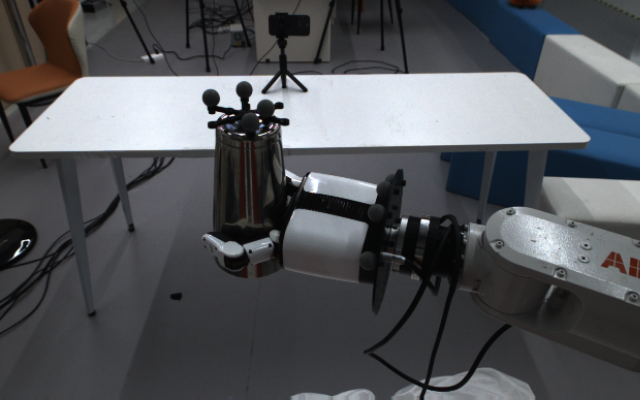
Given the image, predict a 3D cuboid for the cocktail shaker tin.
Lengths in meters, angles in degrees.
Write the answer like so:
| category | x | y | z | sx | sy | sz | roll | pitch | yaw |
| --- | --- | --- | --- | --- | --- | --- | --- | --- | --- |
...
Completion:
| category | x | y | z | sx | sy | sz | roll | pitch | yaw |
| --- | --- | --- | --- | --- | --- | --- | --- | --- | --- |
| cocktail shaker tin | -0.075 | -0.009 | 0.534 | 0.093 | 0.170 | 0.093 | 3 | 34 | -2 |
